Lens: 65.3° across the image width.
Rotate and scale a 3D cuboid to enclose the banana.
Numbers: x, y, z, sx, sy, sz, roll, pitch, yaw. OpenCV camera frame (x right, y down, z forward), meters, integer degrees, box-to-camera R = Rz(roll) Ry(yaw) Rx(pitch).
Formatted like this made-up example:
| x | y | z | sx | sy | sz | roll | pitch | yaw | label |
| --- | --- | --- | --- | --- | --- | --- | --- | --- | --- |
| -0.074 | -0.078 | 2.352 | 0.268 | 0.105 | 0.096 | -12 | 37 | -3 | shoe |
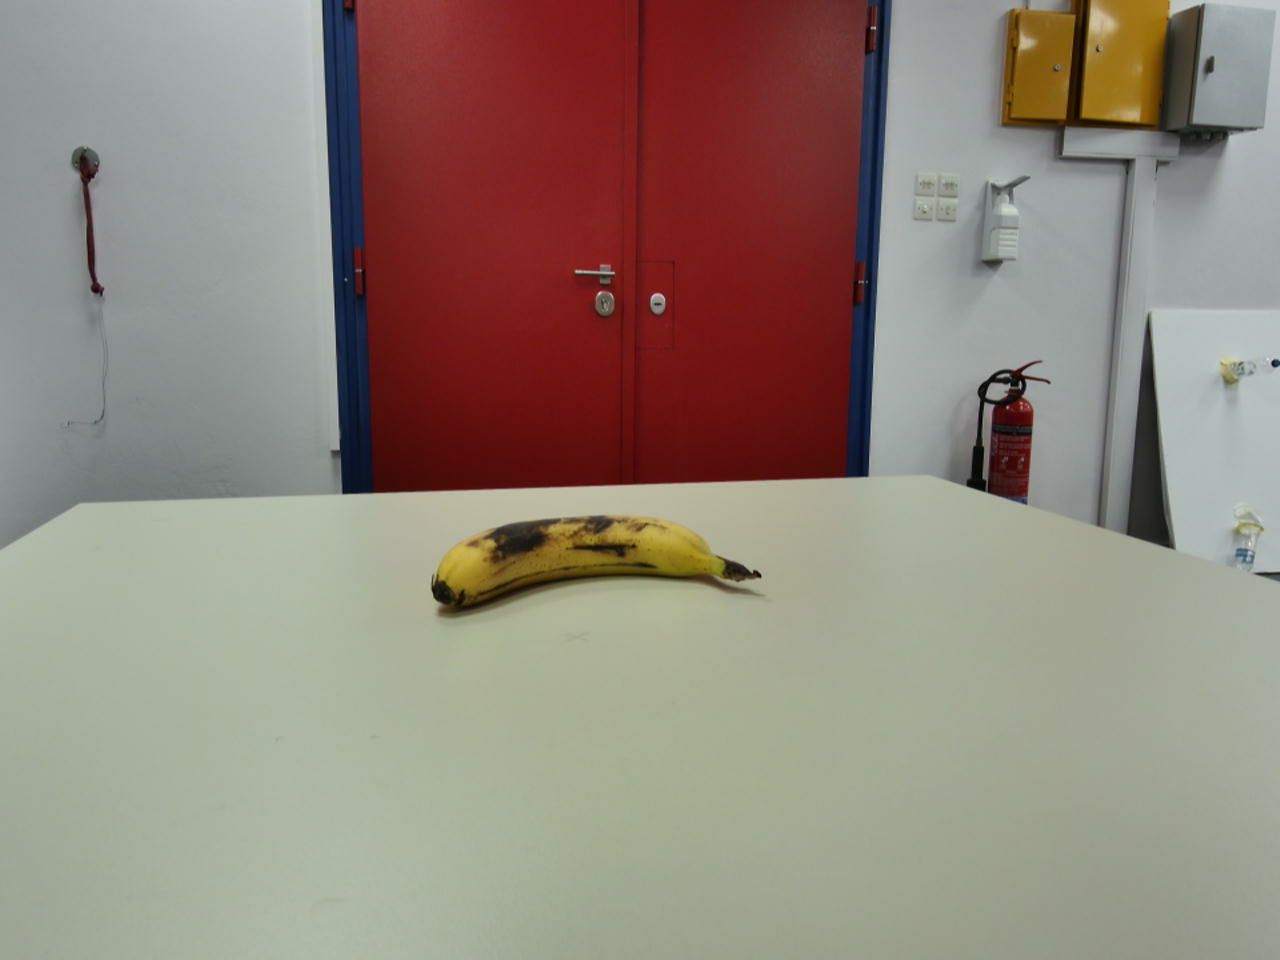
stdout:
| x | y | z | sx | sy | sz | roll | pitch | yaw | label |
| --- | --- | --- | --- | --- | --- | --- | --- | --- | --- |
| -0.032 | 0.046 | 0.601 | 0.187 | 0.039 | 0.094 | -2 | 8 | -15 | banana |
